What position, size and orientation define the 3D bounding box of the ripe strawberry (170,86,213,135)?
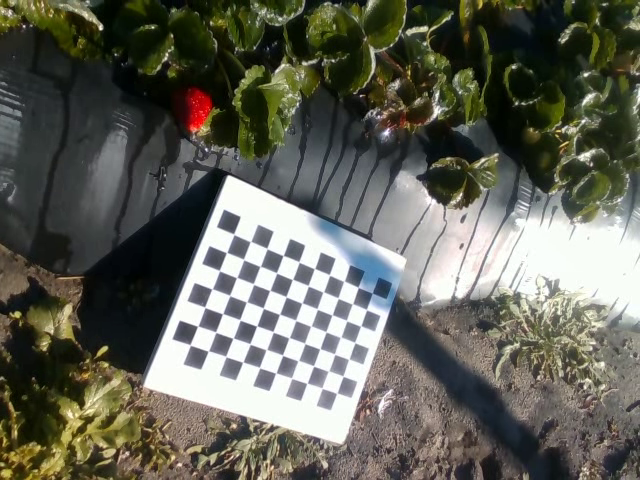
[{"bbox_3d":[-0.120,-0.122,0.564,0.041,0.053,0.047,17,-44,-25],"label":"ripe strawberry"}]
